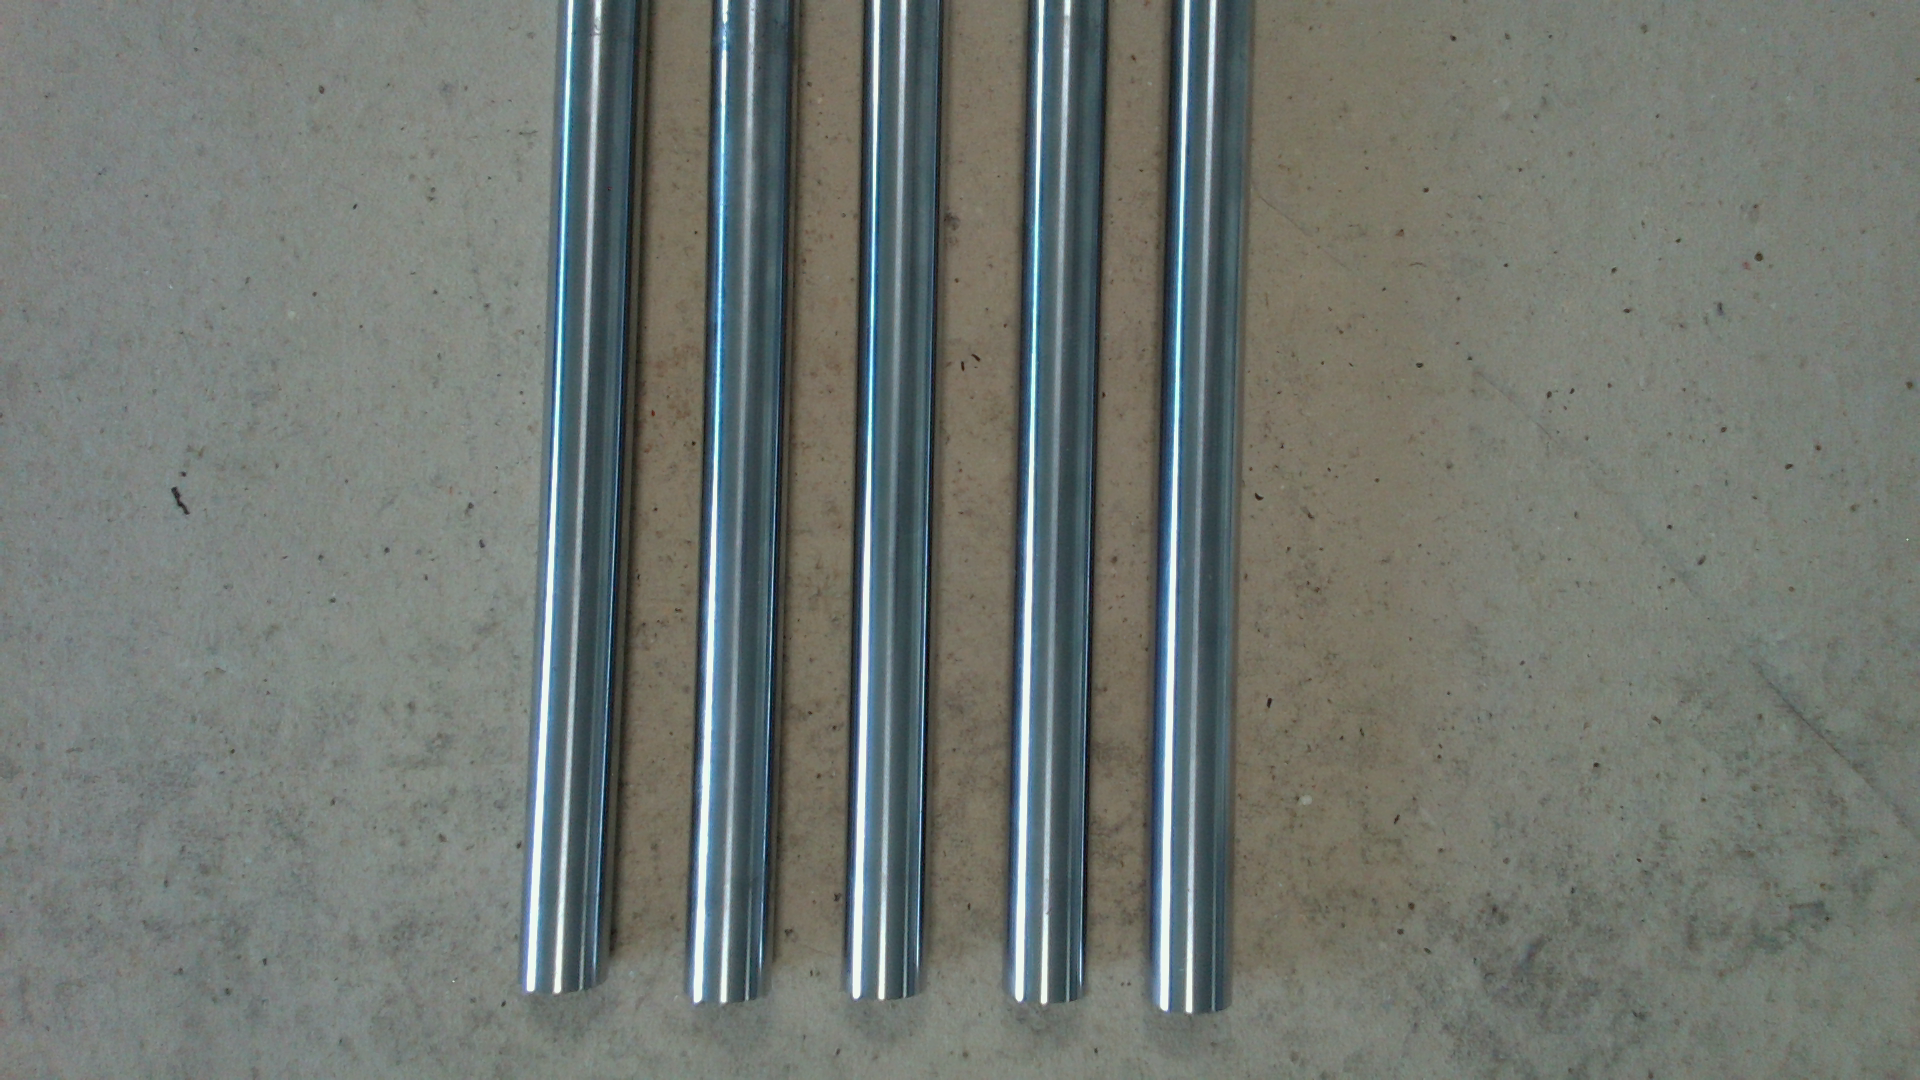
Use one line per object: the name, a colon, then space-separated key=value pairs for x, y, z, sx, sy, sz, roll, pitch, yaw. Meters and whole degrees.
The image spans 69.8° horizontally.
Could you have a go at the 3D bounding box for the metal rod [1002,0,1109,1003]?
metal rod: x=0.028 y=-0.021 z=0.395 sx=0.025 sy=0.025 sz=0.300 roll=1 pitch=90 yaw=0

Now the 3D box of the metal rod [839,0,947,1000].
metal rod: x=-0.019 y=-0.022 z=0.395 sx=0.025 sy=0.025 sz=0.300 roll=1 pitch=90 yaw=0

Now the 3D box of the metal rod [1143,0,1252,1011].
metal rod: x=0.068 y=-0.019 z=0.395 sx=0.025 sy=0.025 sz=0.300 roll=1 pitch=90 yaw=0

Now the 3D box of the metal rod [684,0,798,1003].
metal rod: x=-0.062 y=-0.021 z=0.395 sx=0.025 sy=0.025 sz=0.300 roll=2 pitch=90 yaw=0

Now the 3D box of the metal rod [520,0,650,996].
metal rod: x=-0.107 y=-0.023 z=0.393 sx=0.025 sy=0.025 sz=0.300 roll=2 pitch=90 yaw=0
